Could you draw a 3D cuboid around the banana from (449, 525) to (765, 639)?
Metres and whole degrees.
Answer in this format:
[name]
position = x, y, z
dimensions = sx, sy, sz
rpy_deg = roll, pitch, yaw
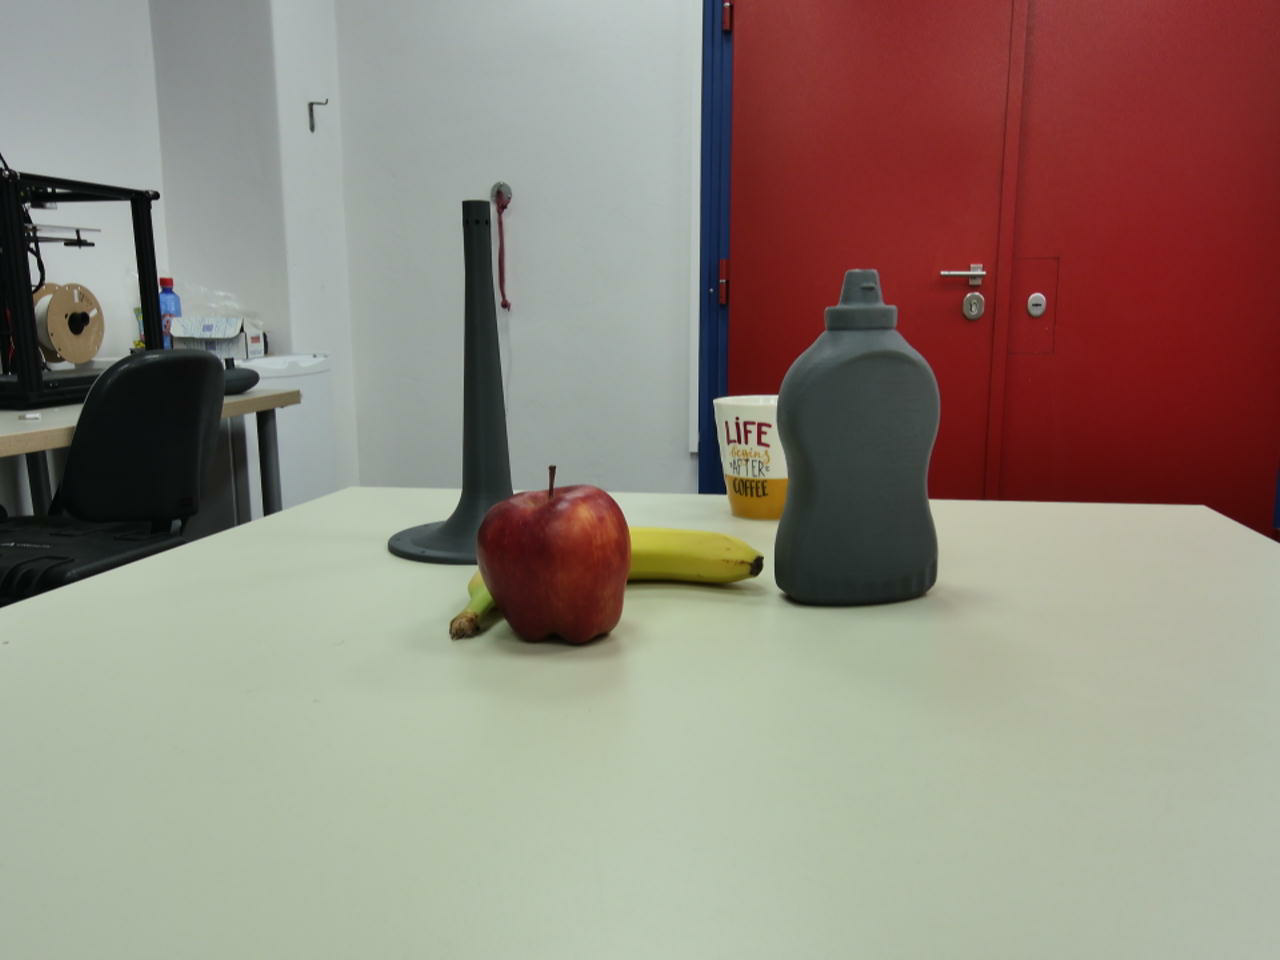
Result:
[banana]
position = -0.029, 0.053, 0.607
dimensions = 0.196, 0.041, 0.094
rpy_deg = -3, 8, -24
